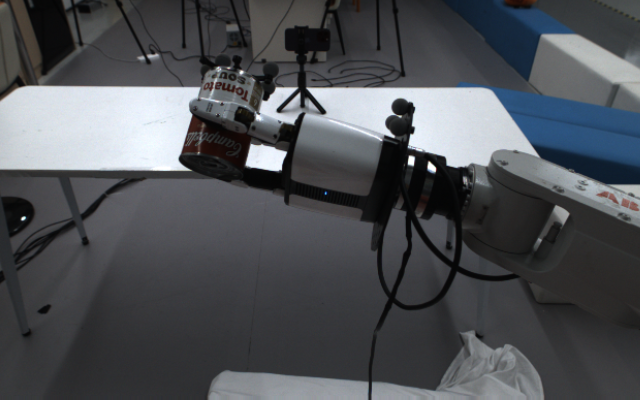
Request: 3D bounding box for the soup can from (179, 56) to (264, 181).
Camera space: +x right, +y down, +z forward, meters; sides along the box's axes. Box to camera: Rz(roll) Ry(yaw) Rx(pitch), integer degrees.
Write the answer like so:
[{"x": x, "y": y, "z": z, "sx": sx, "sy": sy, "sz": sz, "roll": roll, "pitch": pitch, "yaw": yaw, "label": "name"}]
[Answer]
[{"x": -0.102, "y": -0.080, "z": 0.515, "sx": 0.067, "sy": 0.067, "sz": 0.101, "roll": 9, "pitch": 74, "yaw": 9, "label": "soup can"}]
